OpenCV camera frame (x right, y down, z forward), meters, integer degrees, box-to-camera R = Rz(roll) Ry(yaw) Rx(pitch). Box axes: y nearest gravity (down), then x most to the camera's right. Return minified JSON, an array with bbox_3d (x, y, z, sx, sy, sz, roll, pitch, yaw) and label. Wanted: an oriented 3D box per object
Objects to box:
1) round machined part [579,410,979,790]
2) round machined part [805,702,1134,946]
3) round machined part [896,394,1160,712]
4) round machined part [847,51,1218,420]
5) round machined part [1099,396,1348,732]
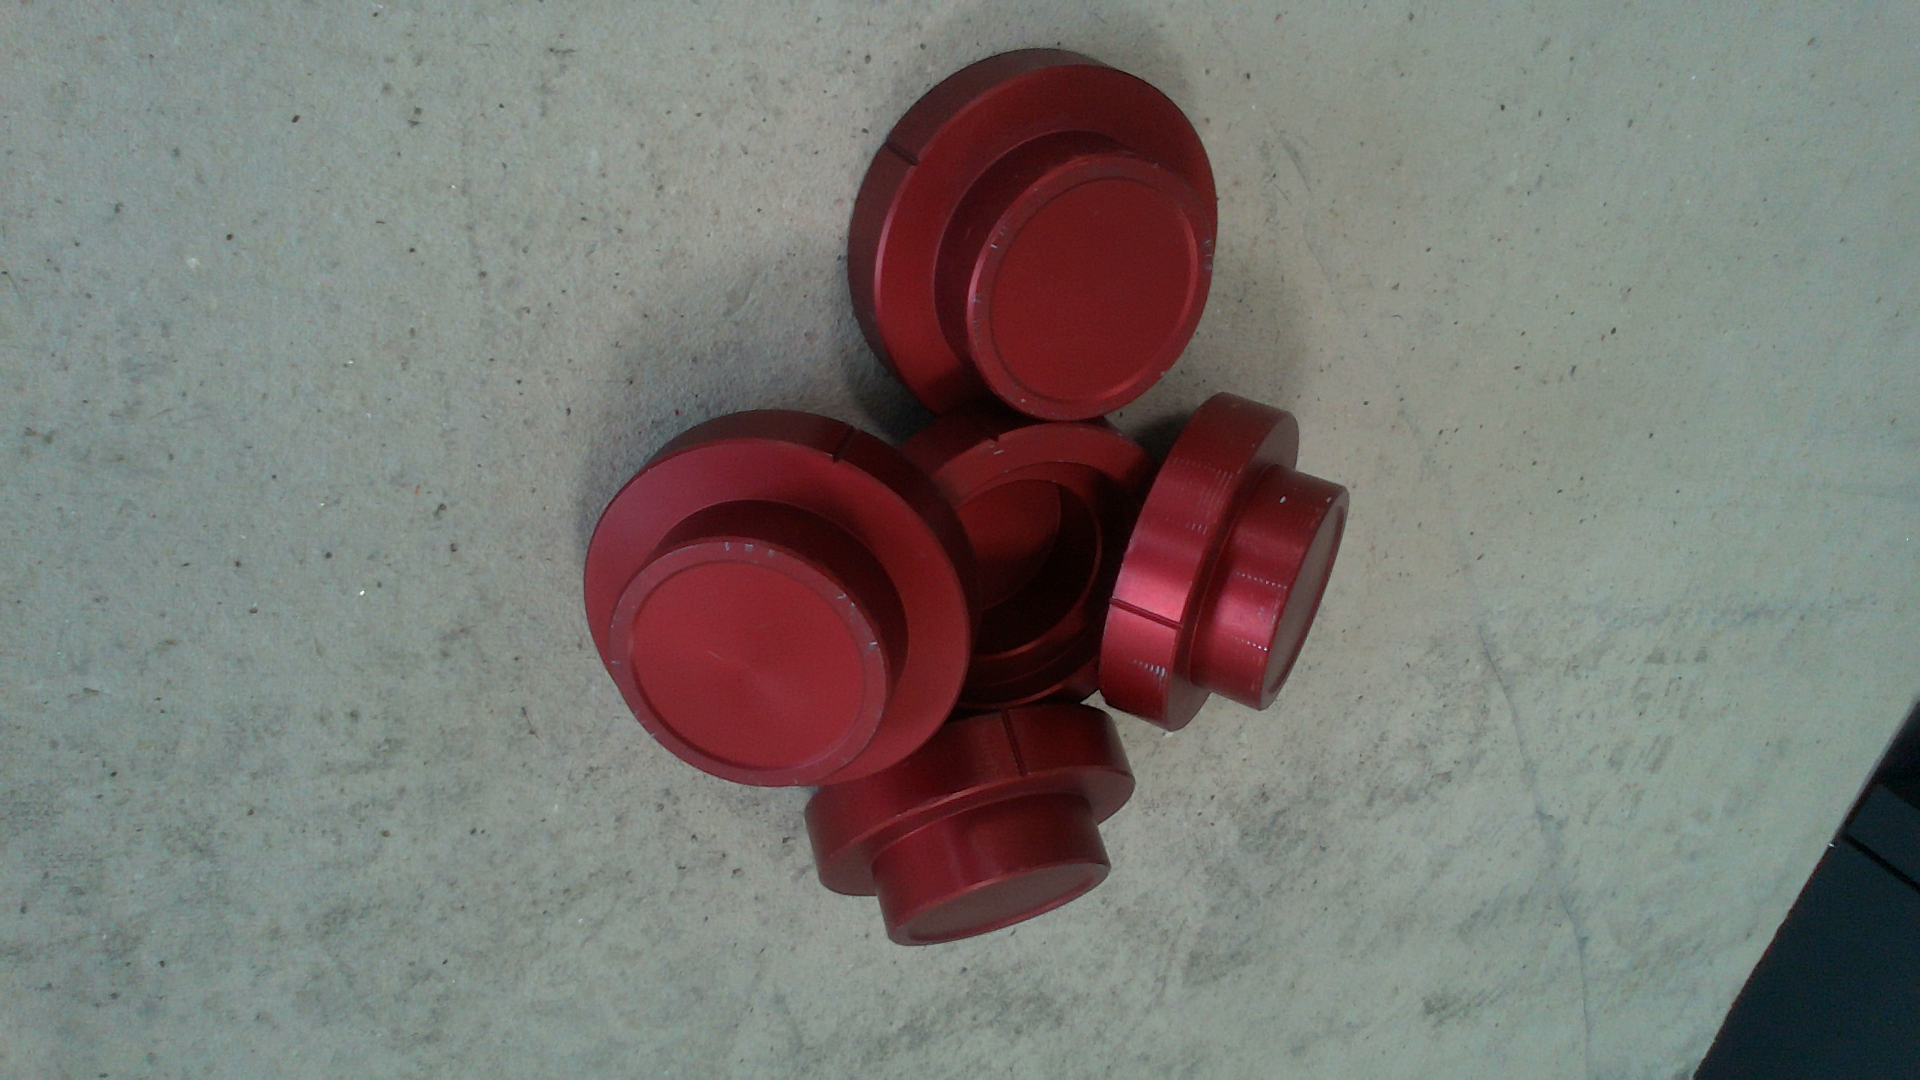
[{"bbox_3d":[-0.046,0.021,0.335,0.098,0.042,0.098,4,118,8],"label":"round machined part"},{"bbox_3d":[0.006,0.088,0.408,0.098,0.042,0.098,-15,154,-7],"label":"round machined part"},{"bbox_3d":[0.010,0.003,0.386,0.098,0.042,0.098,-12,122,-20],"label":"round machined part"},{"bbox_3d":[0.024,-0.070,0.349,0.098,0.042,0.098,-13,122,-21],"label":"round machined part"},{"bbox_3d":[0.080,0.011,0.395,0.098,0.042,0.098,-49,151,-40],"label":"round machined part"}]
